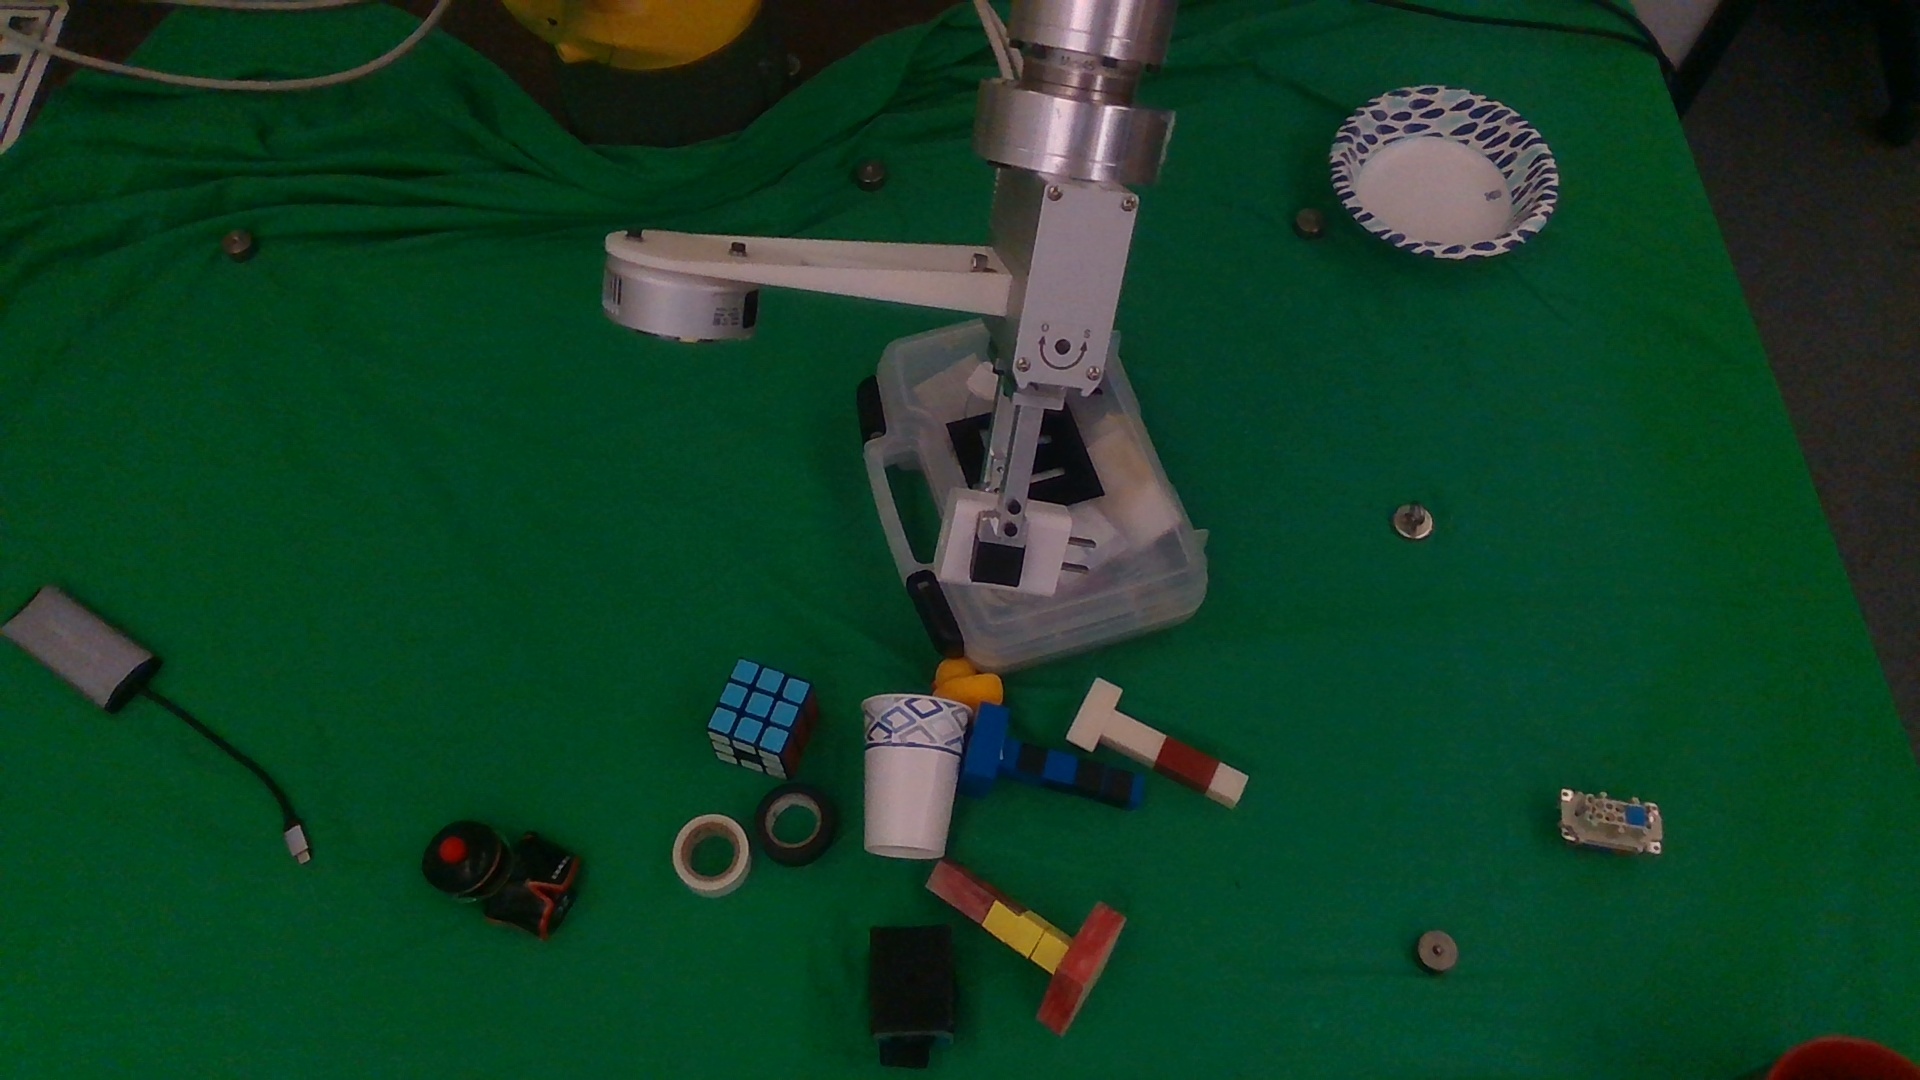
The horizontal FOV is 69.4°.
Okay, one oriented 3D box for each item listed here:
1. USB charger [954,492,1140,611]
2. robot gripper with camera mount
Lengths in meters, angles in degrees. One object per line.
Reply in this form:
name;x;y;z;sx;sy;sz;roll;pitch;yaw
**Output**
USB charger;0.038;0.006;0.592;0.075;0.044;0.029;9;23;-7
robot gripper with camera mount;-0.045;-0.062;0.564;0.193;0.158;0.119;2;23;-2
